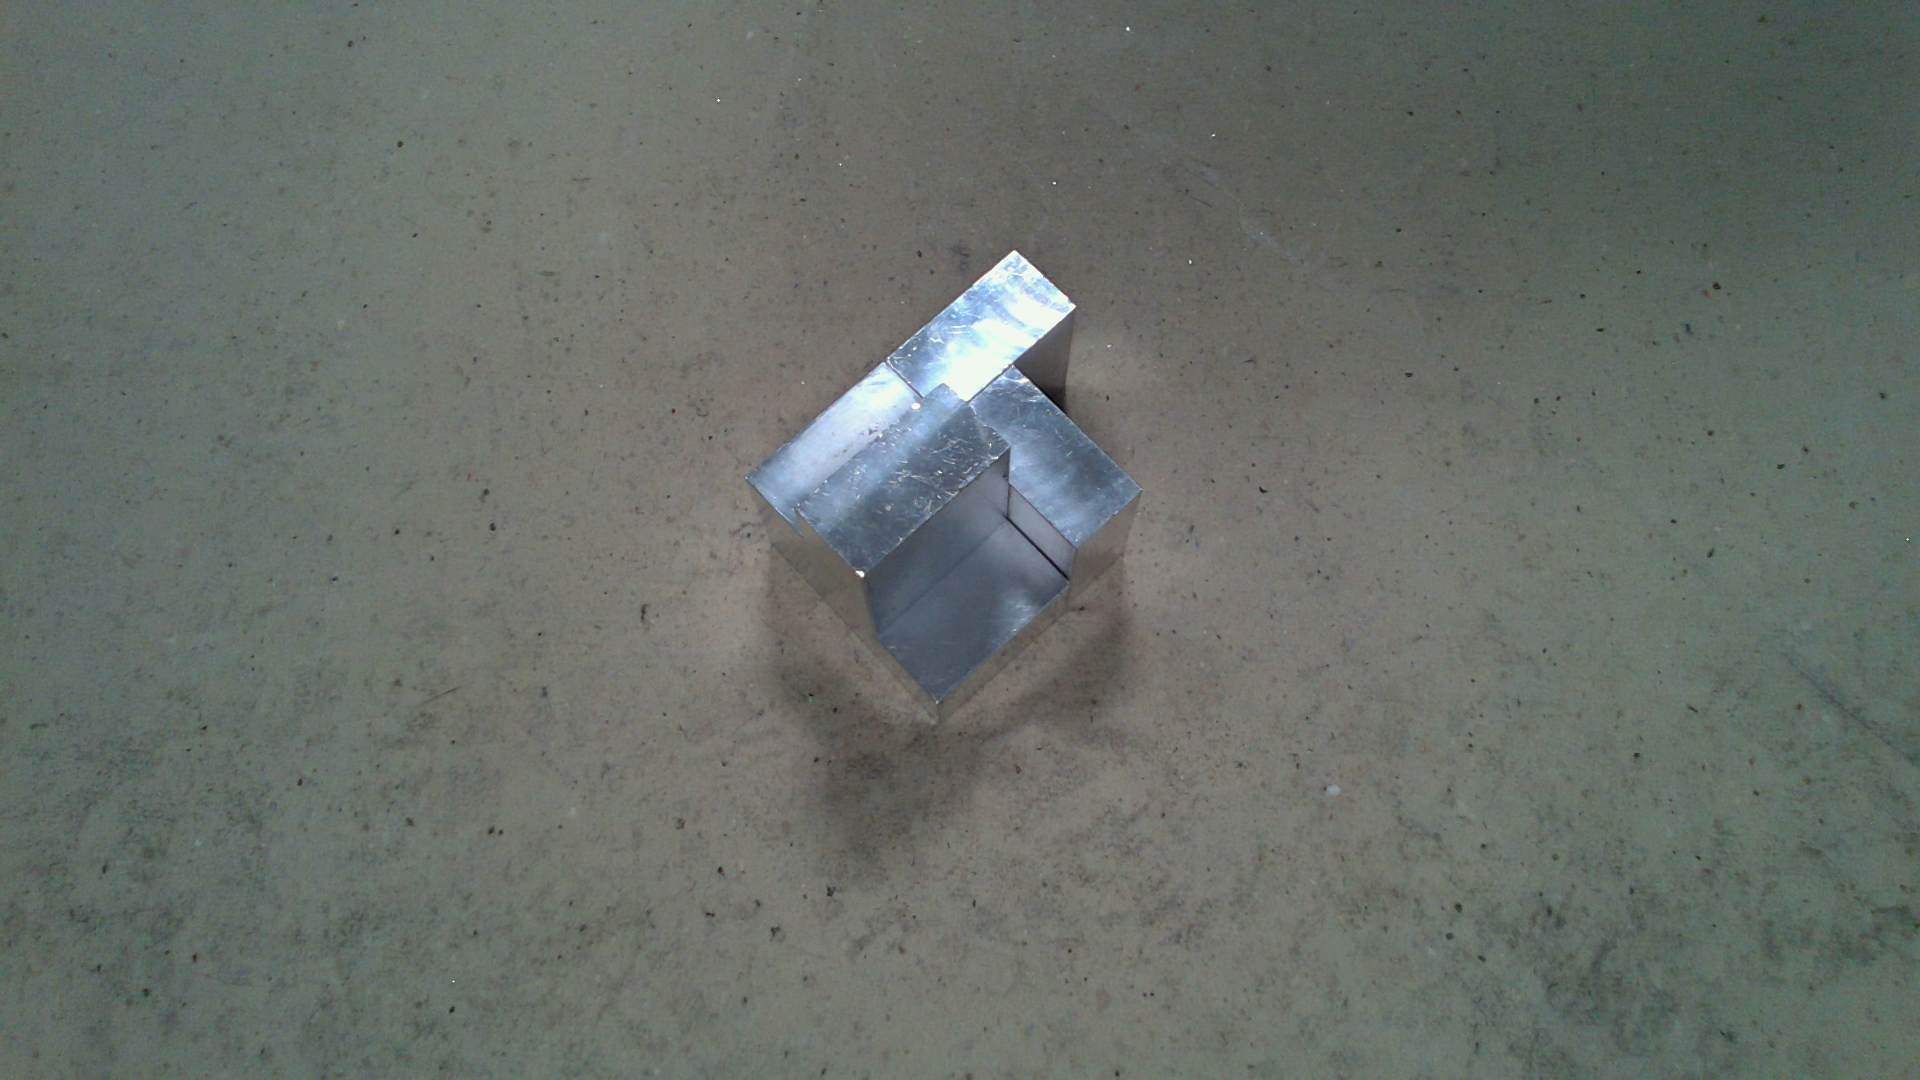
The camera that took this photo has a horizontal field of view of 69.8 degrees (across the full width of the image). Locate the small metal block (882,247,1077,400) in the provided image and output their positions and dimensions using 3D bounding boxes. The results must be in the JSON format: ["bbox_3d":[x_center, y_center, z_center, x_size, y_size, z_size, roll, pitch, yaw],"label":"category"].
[{"bbox_3d":[0.006,-0.048,0.399,0.050,0.050,0.025,-42,75,-14],"label":"small metal block"}]

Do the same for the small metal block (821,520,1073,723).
[{"bbox_3d":[-0.004,0.015,0.389,0.050,0.025,0.050,-41,75,-13],"label":"small metal block"}]

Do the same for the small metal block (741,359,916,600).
[{"bbox_3d":[-0.031,-0.016,0.387,0.050,0.050,0.025,-42,75,-14],"label":"small metal block"}]

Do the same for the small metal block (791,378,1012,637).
[{"bbox_3d":[-0.014,-0.007,0.357,0.050,0.050,0.025,-42,75,-14],"label":"small metal block"}]

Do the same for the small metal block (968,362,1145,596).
[{"bbox_3d":[0.022,-0.014,0.386,0.025,0.050,0.050,-41,75,-13],"label":"small metal block"}]
